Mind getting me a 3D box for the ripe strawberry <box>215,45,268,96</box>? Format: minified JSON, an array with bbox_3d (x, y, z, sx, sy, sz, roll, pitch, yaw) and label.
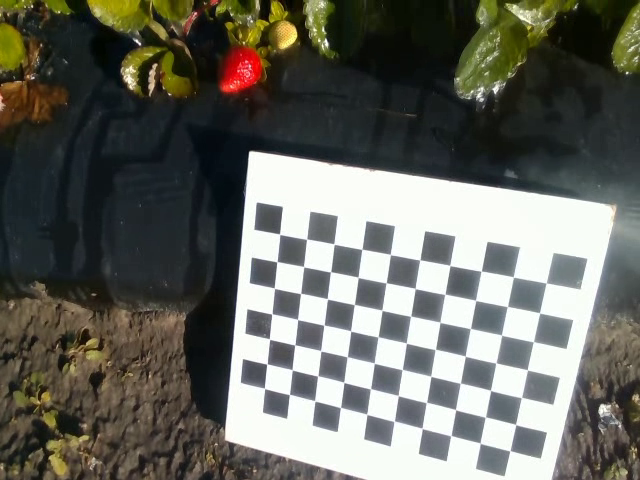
[{"bbox_3d":[-0.055,-0.106,0.466,0.039,0.040,0.039,3,39,28],"label":"ripe strawberry"}]
